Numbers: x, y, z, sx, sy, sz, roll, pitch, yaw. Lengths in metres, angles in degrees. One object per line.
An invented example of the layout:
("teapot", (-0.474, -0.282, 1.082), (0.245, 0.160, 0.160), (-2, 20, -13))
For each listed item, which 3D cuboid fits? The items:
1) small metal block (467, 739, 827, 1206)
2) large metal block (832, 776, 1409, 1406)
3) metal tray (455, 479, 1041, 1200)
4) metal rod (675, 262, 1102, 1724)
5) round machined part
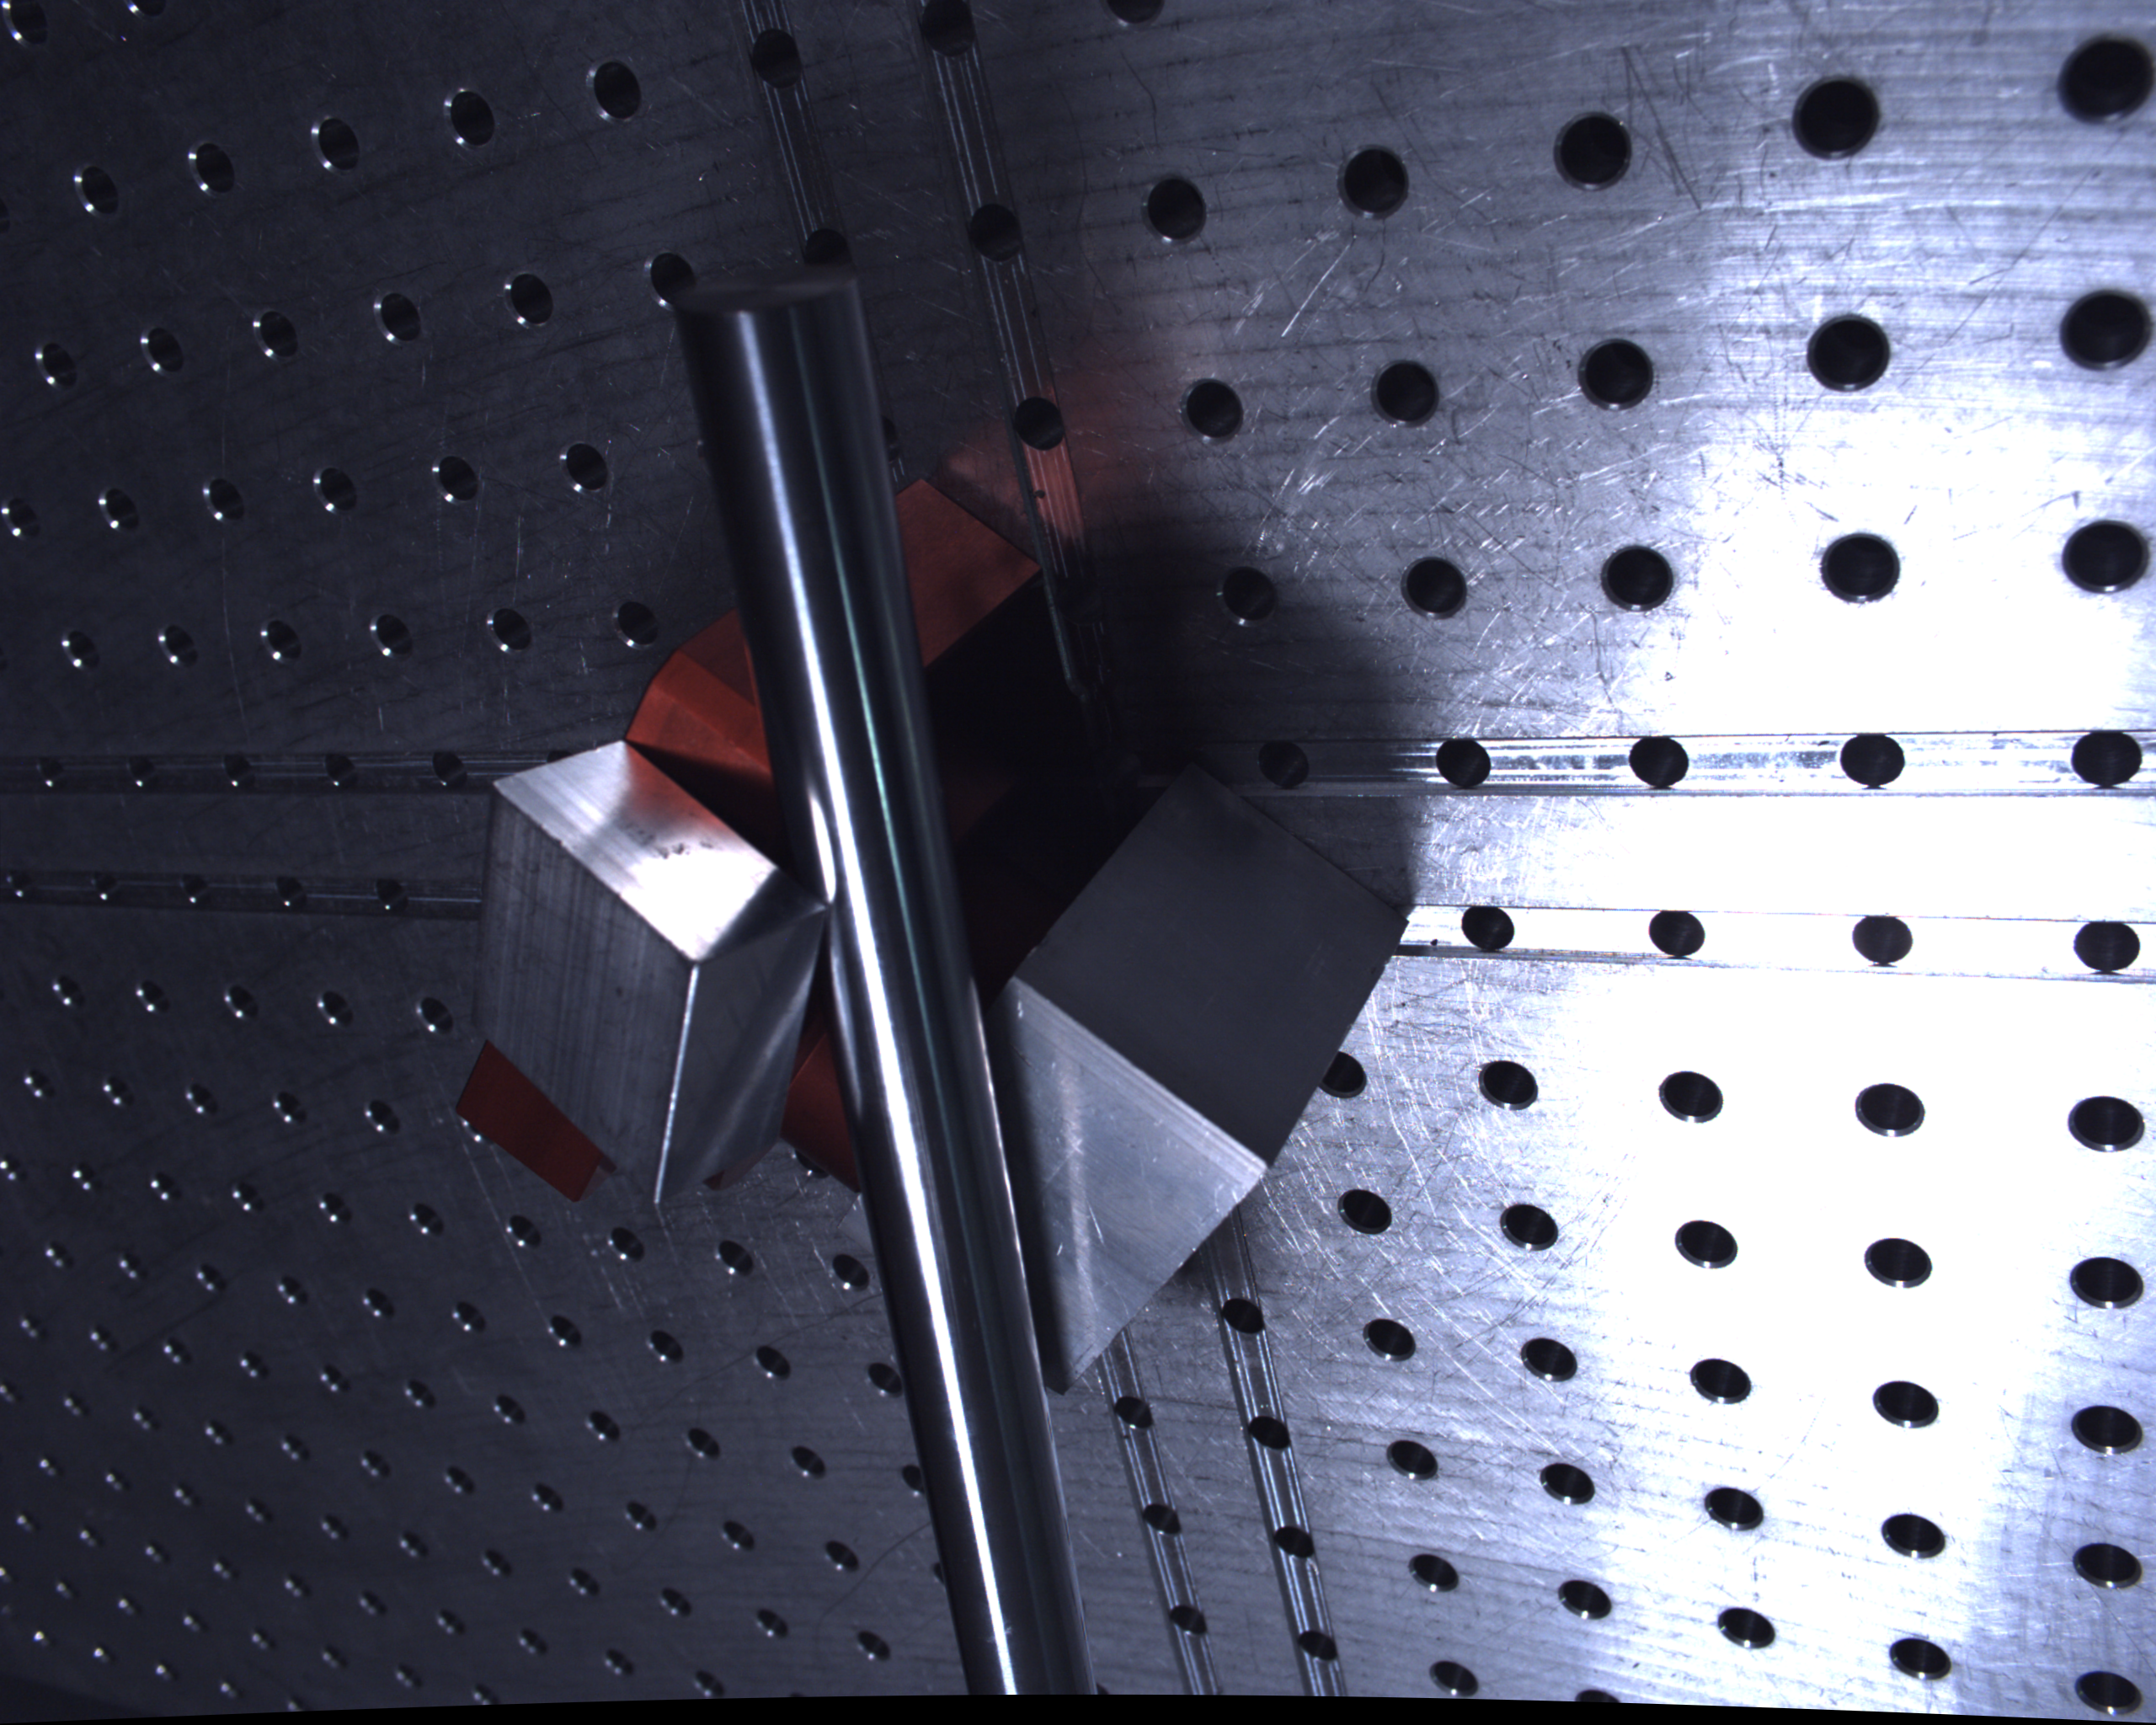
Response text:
("small metal block", (-0.070, 0.017, 0.330), (0.050, 0.025, 0.050), (37, 130, 27))
("large metal block", (0.009, 0.043, 0.392), (0.050, 0.080, 0.080), (37, 129, 3))
("metal tray", (-0.064, -0.003, 0.399), (0.030, 0.090, 0.129), (37, 129, 3))
("metal rod", (-0.024, 0.052, 0.351), (0.025, 0.025, 0.298), (6, 122, 24))
("round machined part", (-0.038, 0.019, 0.400), (0.042, 0.098, 0.097), (36, 129, 4))
